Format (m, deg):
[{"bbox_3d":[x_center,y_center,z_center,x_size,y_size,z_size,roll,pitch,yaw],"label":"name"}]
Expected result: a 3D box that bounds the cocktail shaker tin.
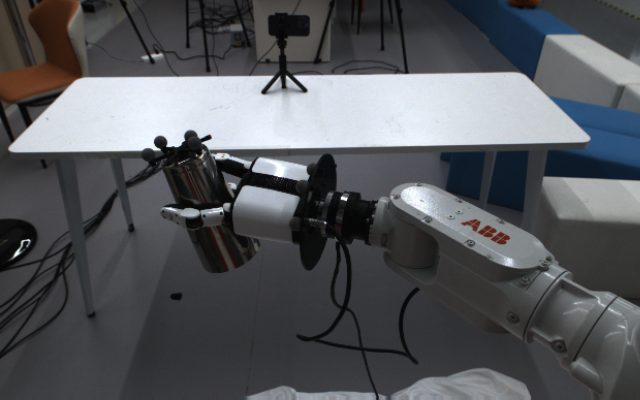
[{"bbox_3d":[-0.159,0.010,0.689,0.093,0.170,0.093,-15,29,8],"label":"cocktail shaker tin"}]
